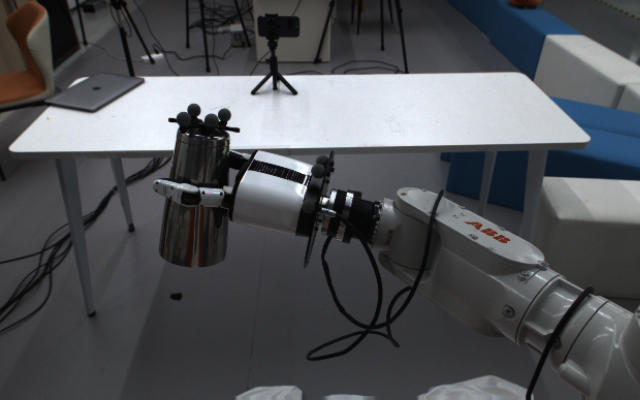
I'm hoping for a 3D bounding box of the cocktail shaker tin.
[{"bbox_3d":[-0.161,-0.008,0.642,0.093,0.170,0.093,9,19,-3],"label":"cocktail shaker tin"}]
